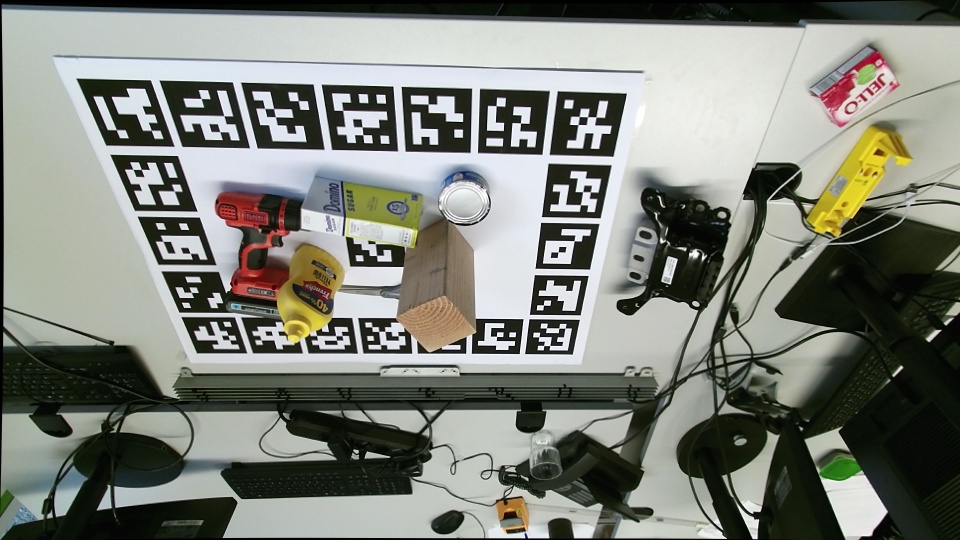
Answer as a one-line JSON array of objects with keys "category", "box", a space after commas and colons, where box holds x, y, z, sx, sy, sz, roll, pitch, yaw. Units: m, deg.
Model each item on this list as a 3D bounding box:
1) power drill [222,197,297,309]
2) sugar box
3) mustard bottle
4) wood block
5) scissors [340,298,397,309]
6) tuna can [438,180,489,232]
[{"category": "power drill", "box": [-0.340, -0.024, 0.905, 0.185, 0.057, 0.187, 12, 117, -11]}, {"category": "sugar box", "box": [-0.192, -0.084, 0.850, 0.177, 0.092, 0.045, 11, 127, -8]}, {"category": "mustard bottle", "box": [-0.292, 0.051, 0.889, 0.058, 0.190, 0.096, -34, 119, 19]}, {"category": "wood block", "box": [-0.070, 0.027, 0.874, 0.091, 0.205, 0.090, -23, 122, 13]}, {"category": "scissors", "box": [-0.159, 0.059, 0.996, 0.203, 0.016, 0.088, 3, 129, -4]}, {"category": "tuna can", "box": [-0.027, -0.102, 0.874, 0.086, 0.033, 0.086, -1, 124, -1]}]
